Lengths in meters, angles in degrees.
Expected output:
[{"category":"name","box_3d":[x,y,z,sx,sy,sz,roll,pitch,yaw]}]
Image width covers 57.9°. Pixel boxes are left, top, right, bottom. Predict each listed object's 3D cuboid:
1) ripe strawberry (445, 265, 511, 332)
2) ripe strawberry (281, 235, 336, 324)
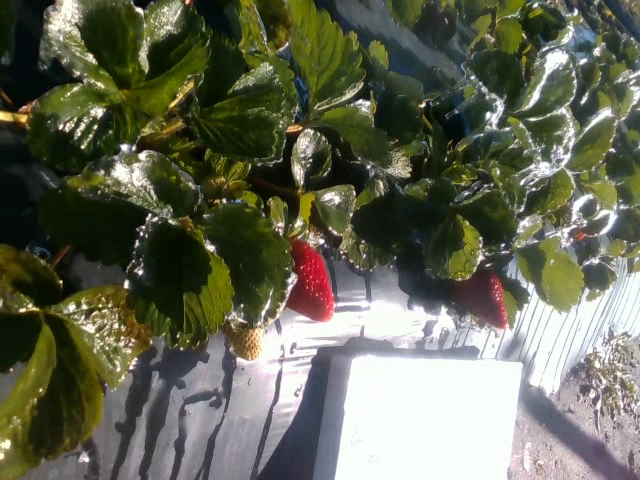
[{"category":"ripe strawberry","box_3d":[0.151,0.056,0.515,0.048,0.061,0.044,4,-30,-46]},{"category":"ripe strawberry","box_3d":[-0.011,0.032,0.356,0.042,0.061,0.046,-7,-32,-45]}]
